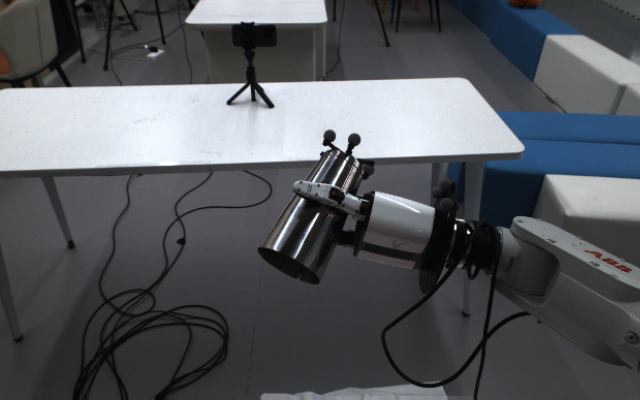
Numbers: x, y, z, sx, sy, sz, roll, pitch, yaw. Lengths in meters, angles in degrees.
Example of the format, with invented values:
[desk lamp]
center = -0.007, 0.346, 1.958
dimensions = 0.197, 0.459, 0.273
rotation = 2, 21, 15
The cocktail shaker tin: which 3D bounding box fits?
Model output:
[cocktail shaker tin]
center = -0.001, 0.014, 0.656
dimensions = 0.093, 0.093, 0.170
rotation = 18, 66, 22
